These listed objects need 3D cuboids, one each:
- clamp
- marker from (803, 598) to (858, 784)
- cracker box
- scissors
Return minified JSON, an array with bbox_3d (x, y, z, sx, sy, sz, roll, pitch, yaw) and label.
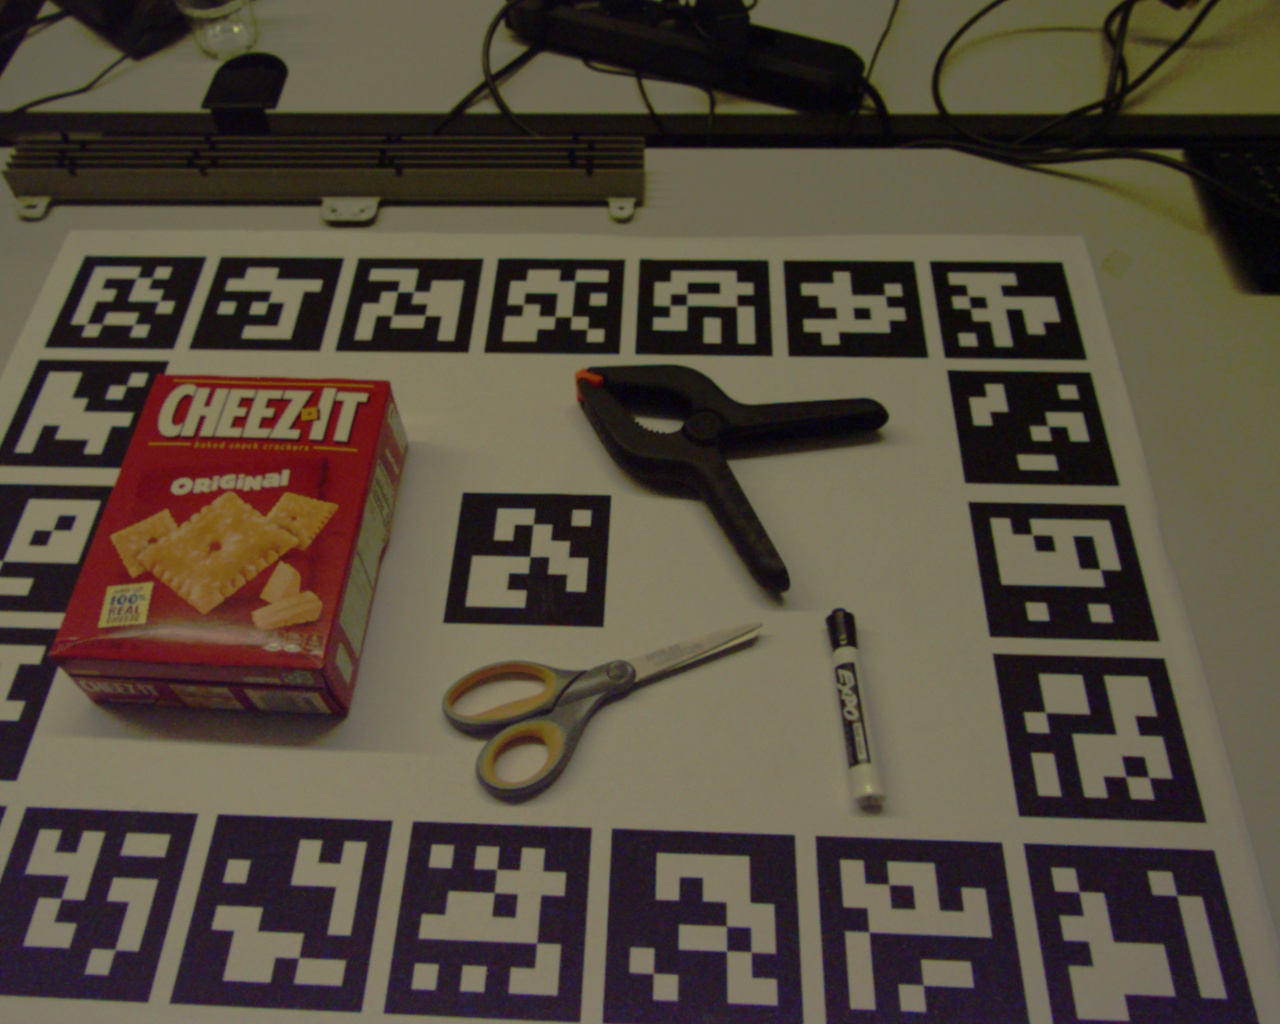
[{"bbox_3d":[0.029,-0.049,0.824,0.204,0.036,0.164,26,59,19],"label":"clamp"},{"bbox_3d":[0.117,0.107,0.703,0.019,0.019,0.121,-3,54,0],"label":"marker"},{"bbox_3d":[-0.257,0.019,0.753,0.164,0.071,0.214,1,55,3],"label":"cracker box"},{"bbox_3d":[-0.026,0.102,0.714,0.201,0.016,0.088,-23,56,-16],"label":"scissors"}]
